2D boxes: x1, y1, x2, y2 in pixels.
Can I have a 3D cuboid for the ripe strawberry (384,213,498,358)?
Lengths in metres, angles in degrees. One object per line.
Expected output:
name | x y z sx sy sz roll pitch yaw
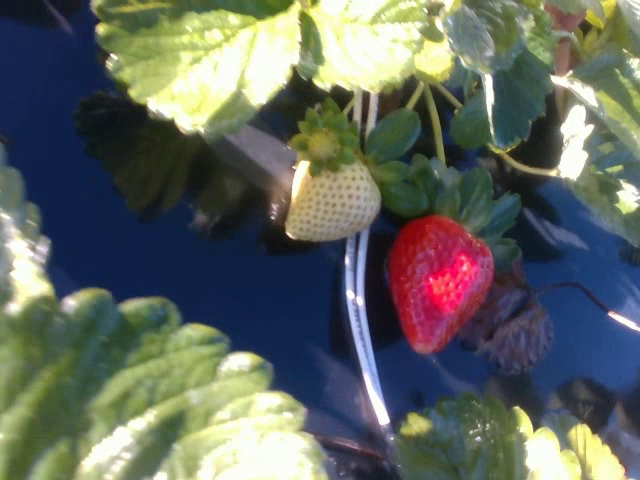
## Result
ripe strawberry | 0.057 0.019 0.261 0.040 0.063 0.080 -4 40 28
